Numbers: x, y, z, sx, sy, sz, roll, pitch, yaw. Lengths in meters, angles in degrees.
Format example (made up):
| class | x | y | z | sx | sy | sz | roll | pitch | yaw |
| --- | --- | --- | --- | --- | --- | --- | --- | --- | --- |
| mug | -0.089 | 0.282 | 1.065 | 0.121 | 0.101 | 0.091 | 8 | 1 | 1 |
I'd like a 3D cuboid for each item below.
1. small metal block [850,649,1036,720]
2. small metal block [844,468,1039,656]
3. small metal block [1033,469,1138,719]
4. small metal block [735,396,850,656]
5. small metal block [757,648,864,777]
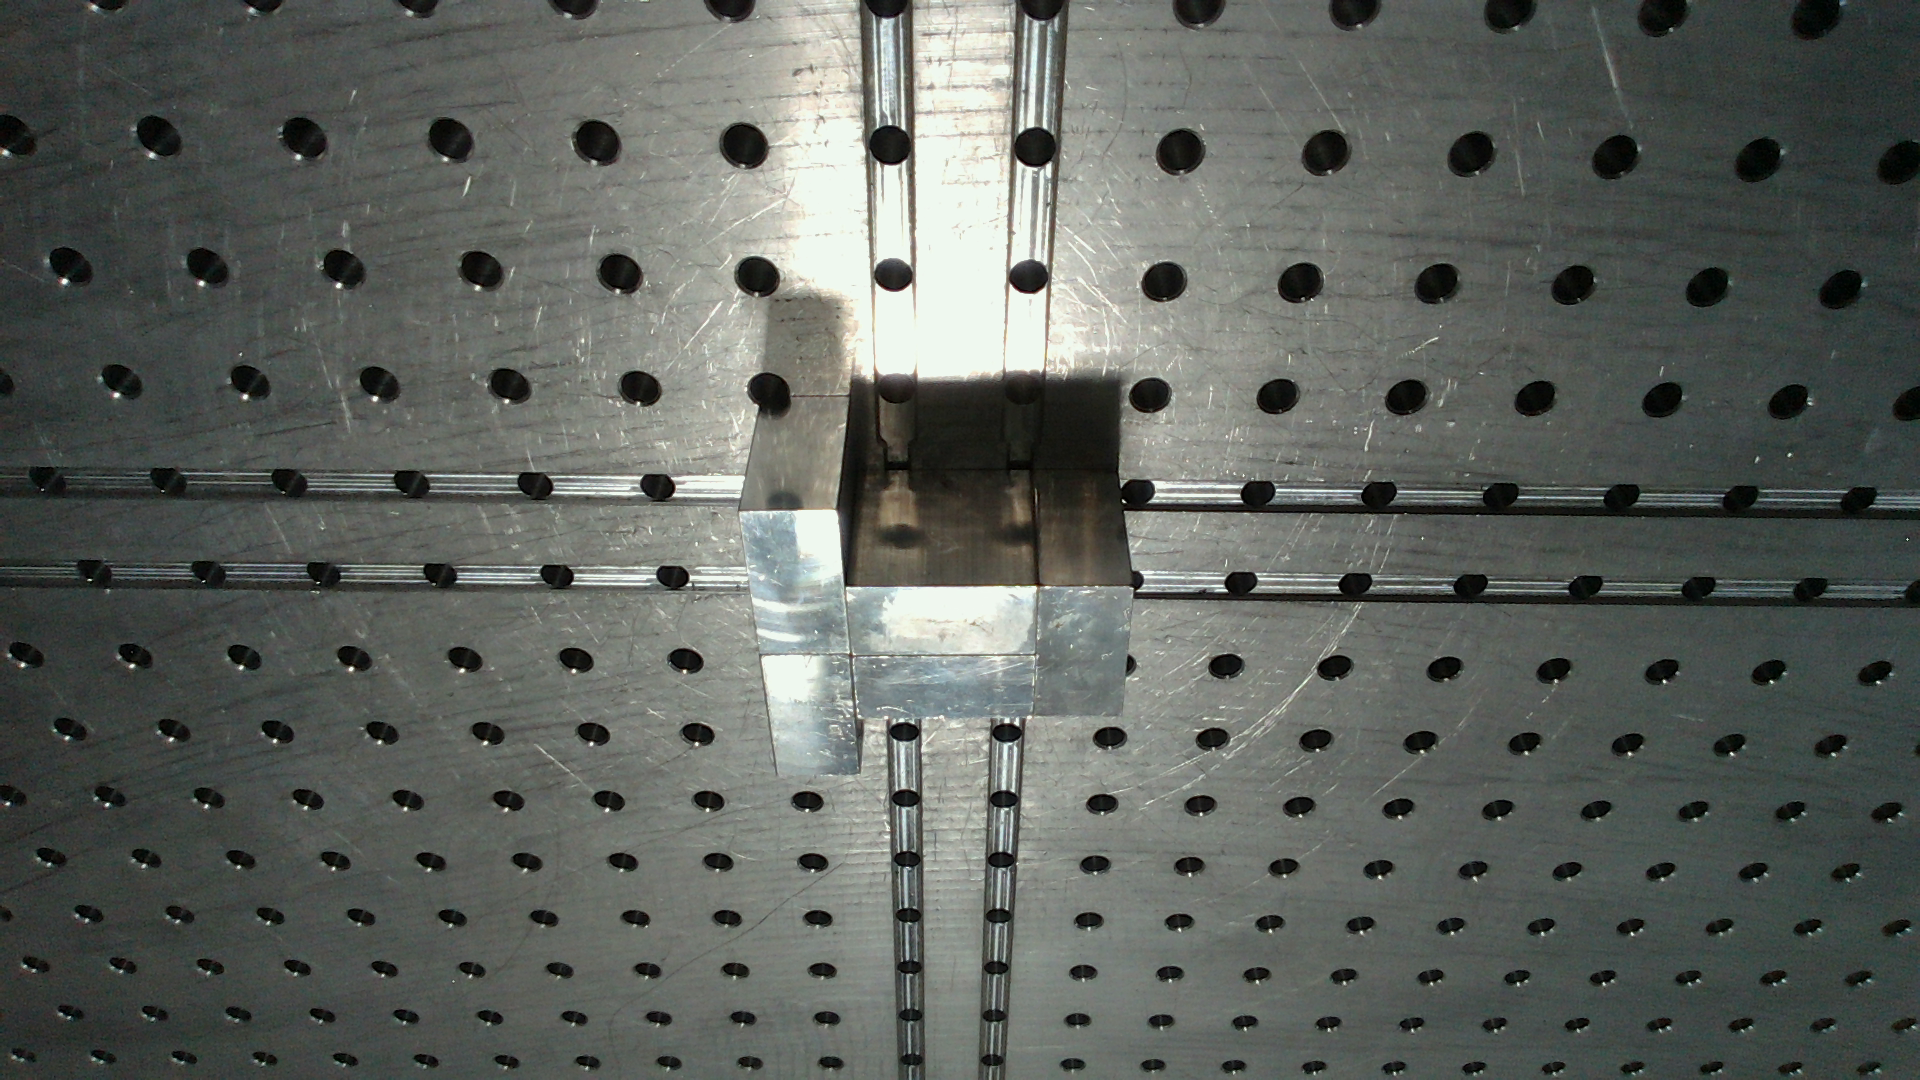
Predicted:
| class | x | y | z | sx | sy | sz | roll | pitch | yaw |
| --- | --- | --- | --- | --- | --- | --- | --- | --- | --- |
| small metal block | -0.004 | 0.025 | 0.397 | 0.050 | 0.050 | 0.025 | 0 | 130 | 0 |
| small metal block | -0.005 | 0.005 | 0.381 | 0.050 | 0.050 | 0.025 | 0 | 130 | 0 |
| small metal block | 0.034 | 0.015 | 0.389 | 0.025 | 0.050 | 0.050 | 0 | 130 | 0 |
| small metal block | -0.042 | -0.004 | 0.373 | 0.025 | 0.050 | 0.050 | 0 | 130 | 0 |
| small metal block | -0.042 | 0.034 | 0.405 | 0.025 | 0.050 | 0.050 | 0 | 130 | 0 |
